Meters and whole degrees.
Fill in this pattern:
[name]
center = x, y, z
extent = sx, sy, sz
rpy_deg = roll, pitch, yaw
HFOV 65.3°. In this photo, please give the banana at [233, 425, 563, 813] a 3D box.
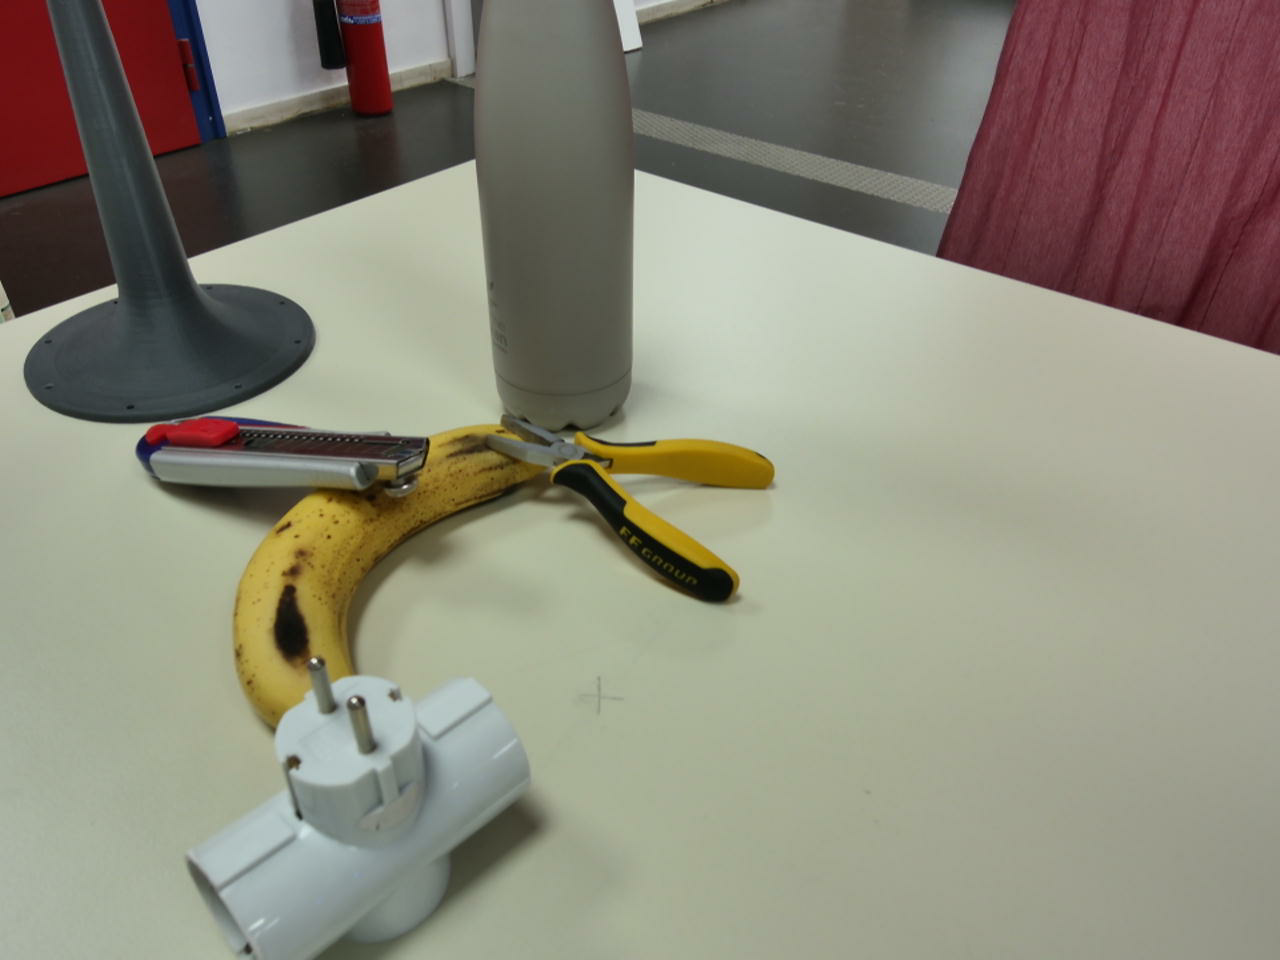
[banana]
center = -0.098, 0.031, 0.397
extent = 0.097, 0.038, 0.186
rpy_deg = 7, 35, 7
